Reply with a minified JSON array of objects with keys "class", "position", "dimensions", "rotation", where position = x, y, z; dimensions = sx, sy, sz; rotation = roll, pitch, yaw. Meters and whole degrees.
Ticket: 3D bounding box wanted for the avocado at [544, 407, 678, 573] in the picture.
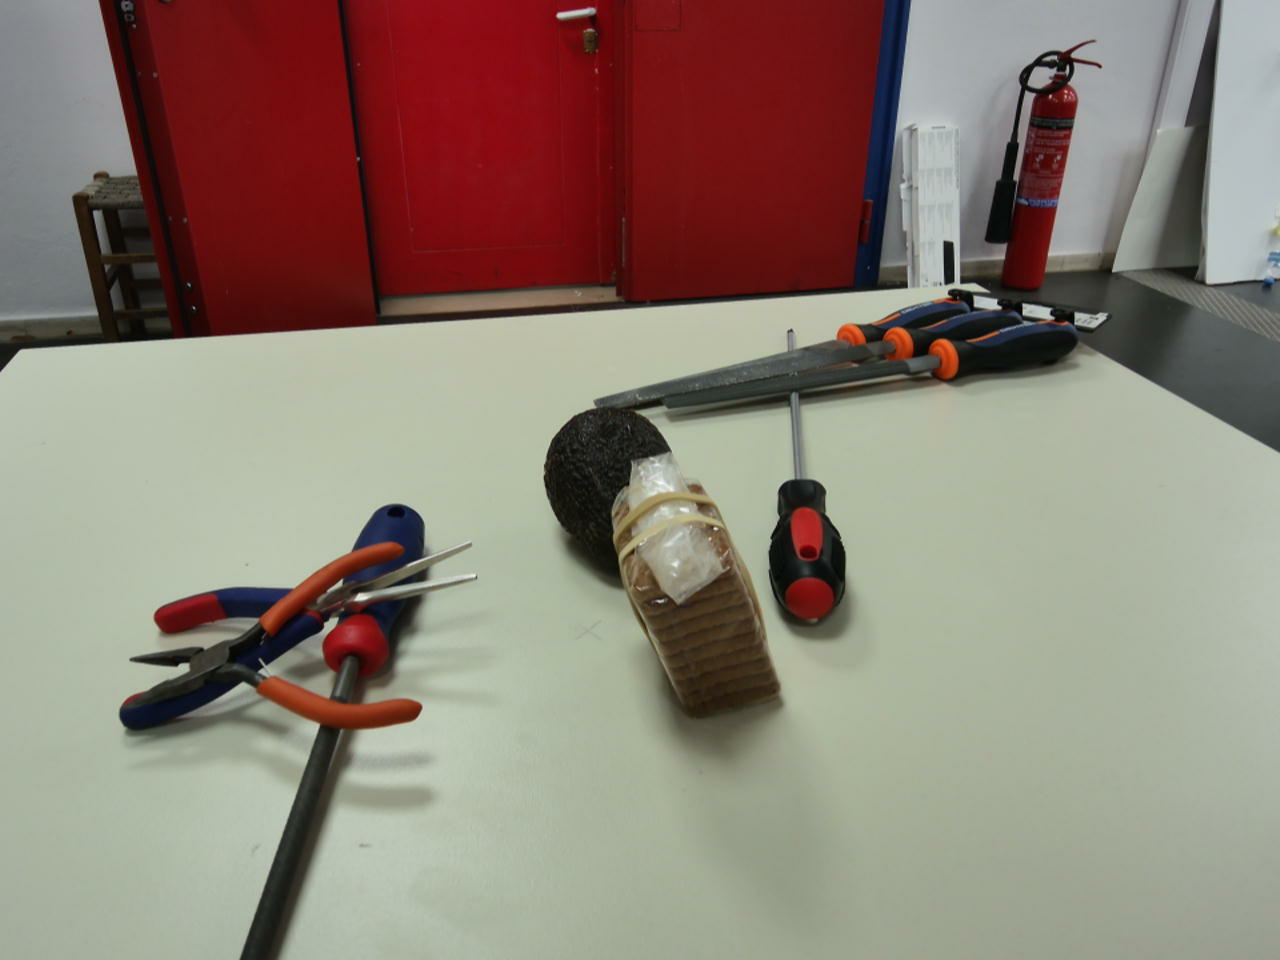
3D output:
[{"class":"avocado","position":[-0.016,0.001,0.510],"dimensions":[0.070,0.069,0.090],"rotation":[5,26,11]}]
